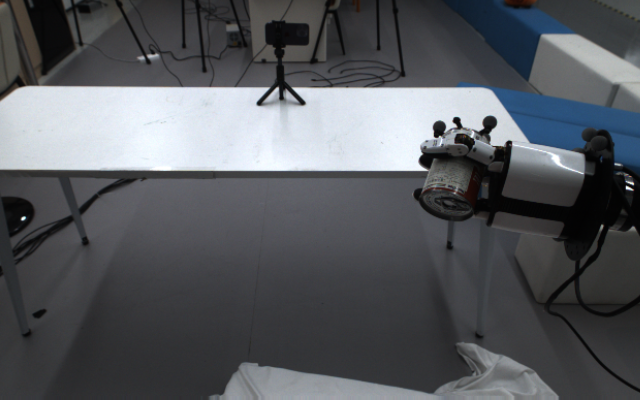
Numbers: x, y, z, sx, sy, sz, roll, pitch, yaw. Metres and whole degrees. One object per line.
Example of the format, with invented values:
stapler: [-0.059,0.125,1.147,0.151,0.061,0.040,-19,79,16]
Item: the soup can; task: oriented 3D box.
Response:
soup can: [0.174,-0.035,0.620,0.067,0.067,0.101,15,64,18]
